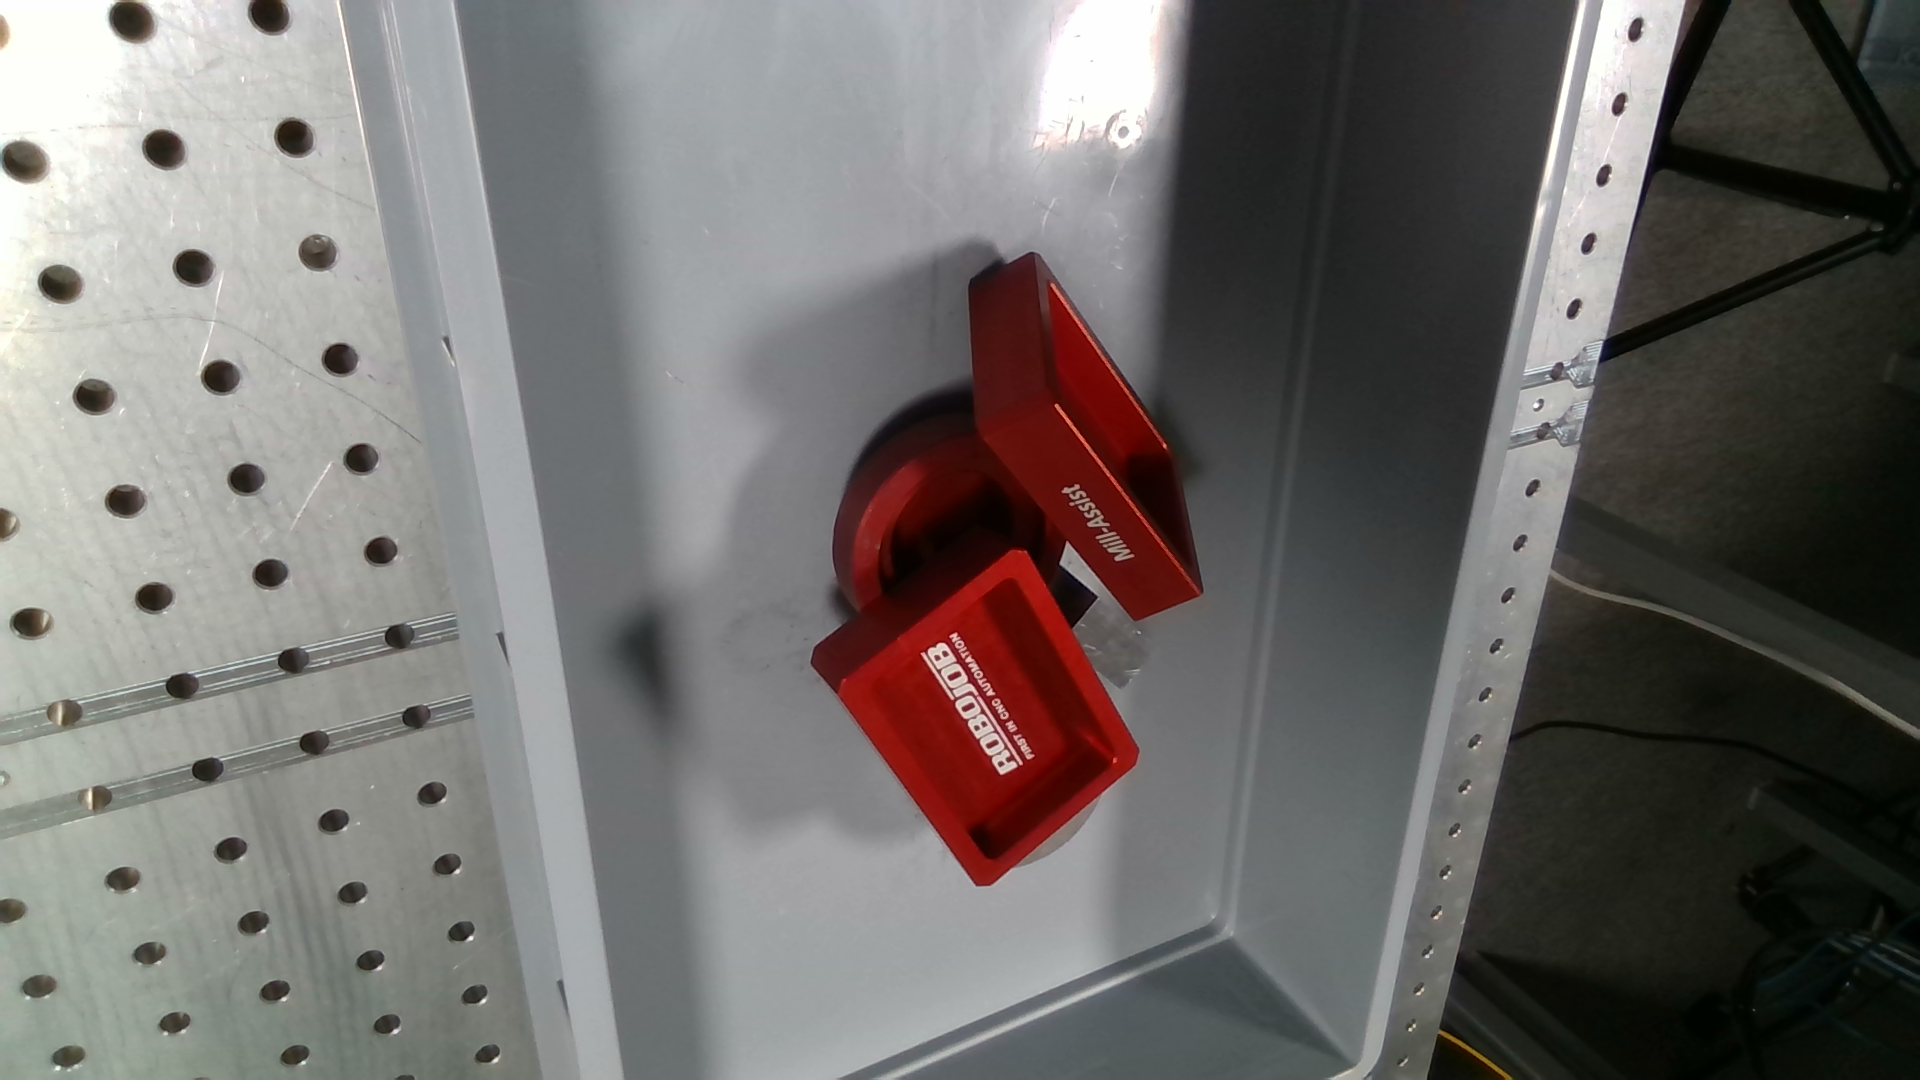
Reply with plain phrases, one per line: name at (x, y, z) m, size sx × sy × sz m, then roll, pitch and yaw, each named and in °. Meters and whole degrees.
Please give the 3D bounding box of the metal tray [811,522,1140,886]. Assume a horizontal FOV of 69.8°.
metal tray at (0.009, 0.069, 0.557) m, size 0.090 × 0.030 × 0.130 m, roll -38°, pitch 124°, yaw -10°

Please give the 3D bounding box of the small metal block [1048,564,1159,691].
small metal block at (0.053, 0.035, 0.614) m, size 0.025 × 0.050 × 0.050 m, roll -50°, pitch 131°, yaw 1°

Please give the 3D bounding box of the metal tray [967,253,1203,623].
metal tray at (0.050, -0.038, 0.545) m, size 0.030 × 0.090 × 0.130 m, roll -24°, pitch 133°, yaw 21°

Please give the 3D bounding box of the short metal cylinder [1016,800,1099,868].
short metal cylinder at (0.021, 0.103, 0.630) m, size 0.080 × 0.050 × 0.080 m, roll -14°, pitch 122°, yaw -25°

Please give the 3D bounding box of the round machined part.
round machined part at (-0.009, -0.007, 0.561) m, size 0.098 × 0.042 × 0.098 m, roll -14°, pitch 122°, yaw -25°
